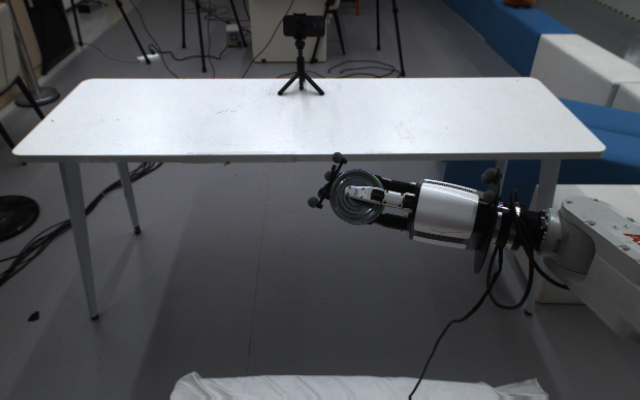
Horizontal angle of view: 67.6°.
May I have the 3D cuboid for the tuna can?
[{"bbox_3d":[0.061,-0.006,0.749,0.085,0.085,0.034,9,-4,9],"label":"tuna can"}]
